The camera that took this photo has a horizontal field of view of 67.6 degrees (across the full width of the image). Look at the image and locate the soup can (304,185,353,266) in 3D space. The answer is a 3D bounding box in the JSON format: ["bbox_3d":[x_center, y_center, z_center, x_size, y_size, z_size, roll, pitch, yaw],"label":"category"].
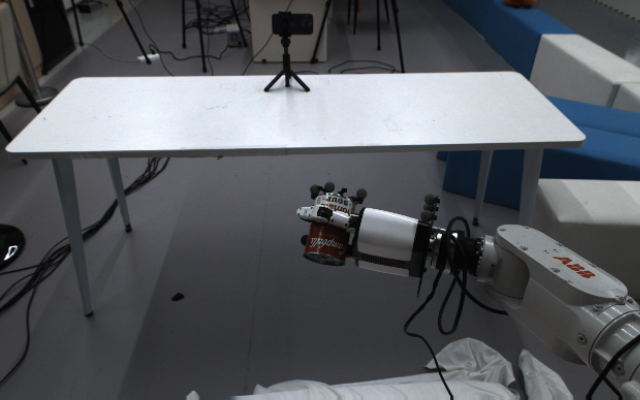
[{"bbox_3d":[0.016,0.047,0.768,0.067,0.067,0.101,9,71,9],"label":"soup can"}]
